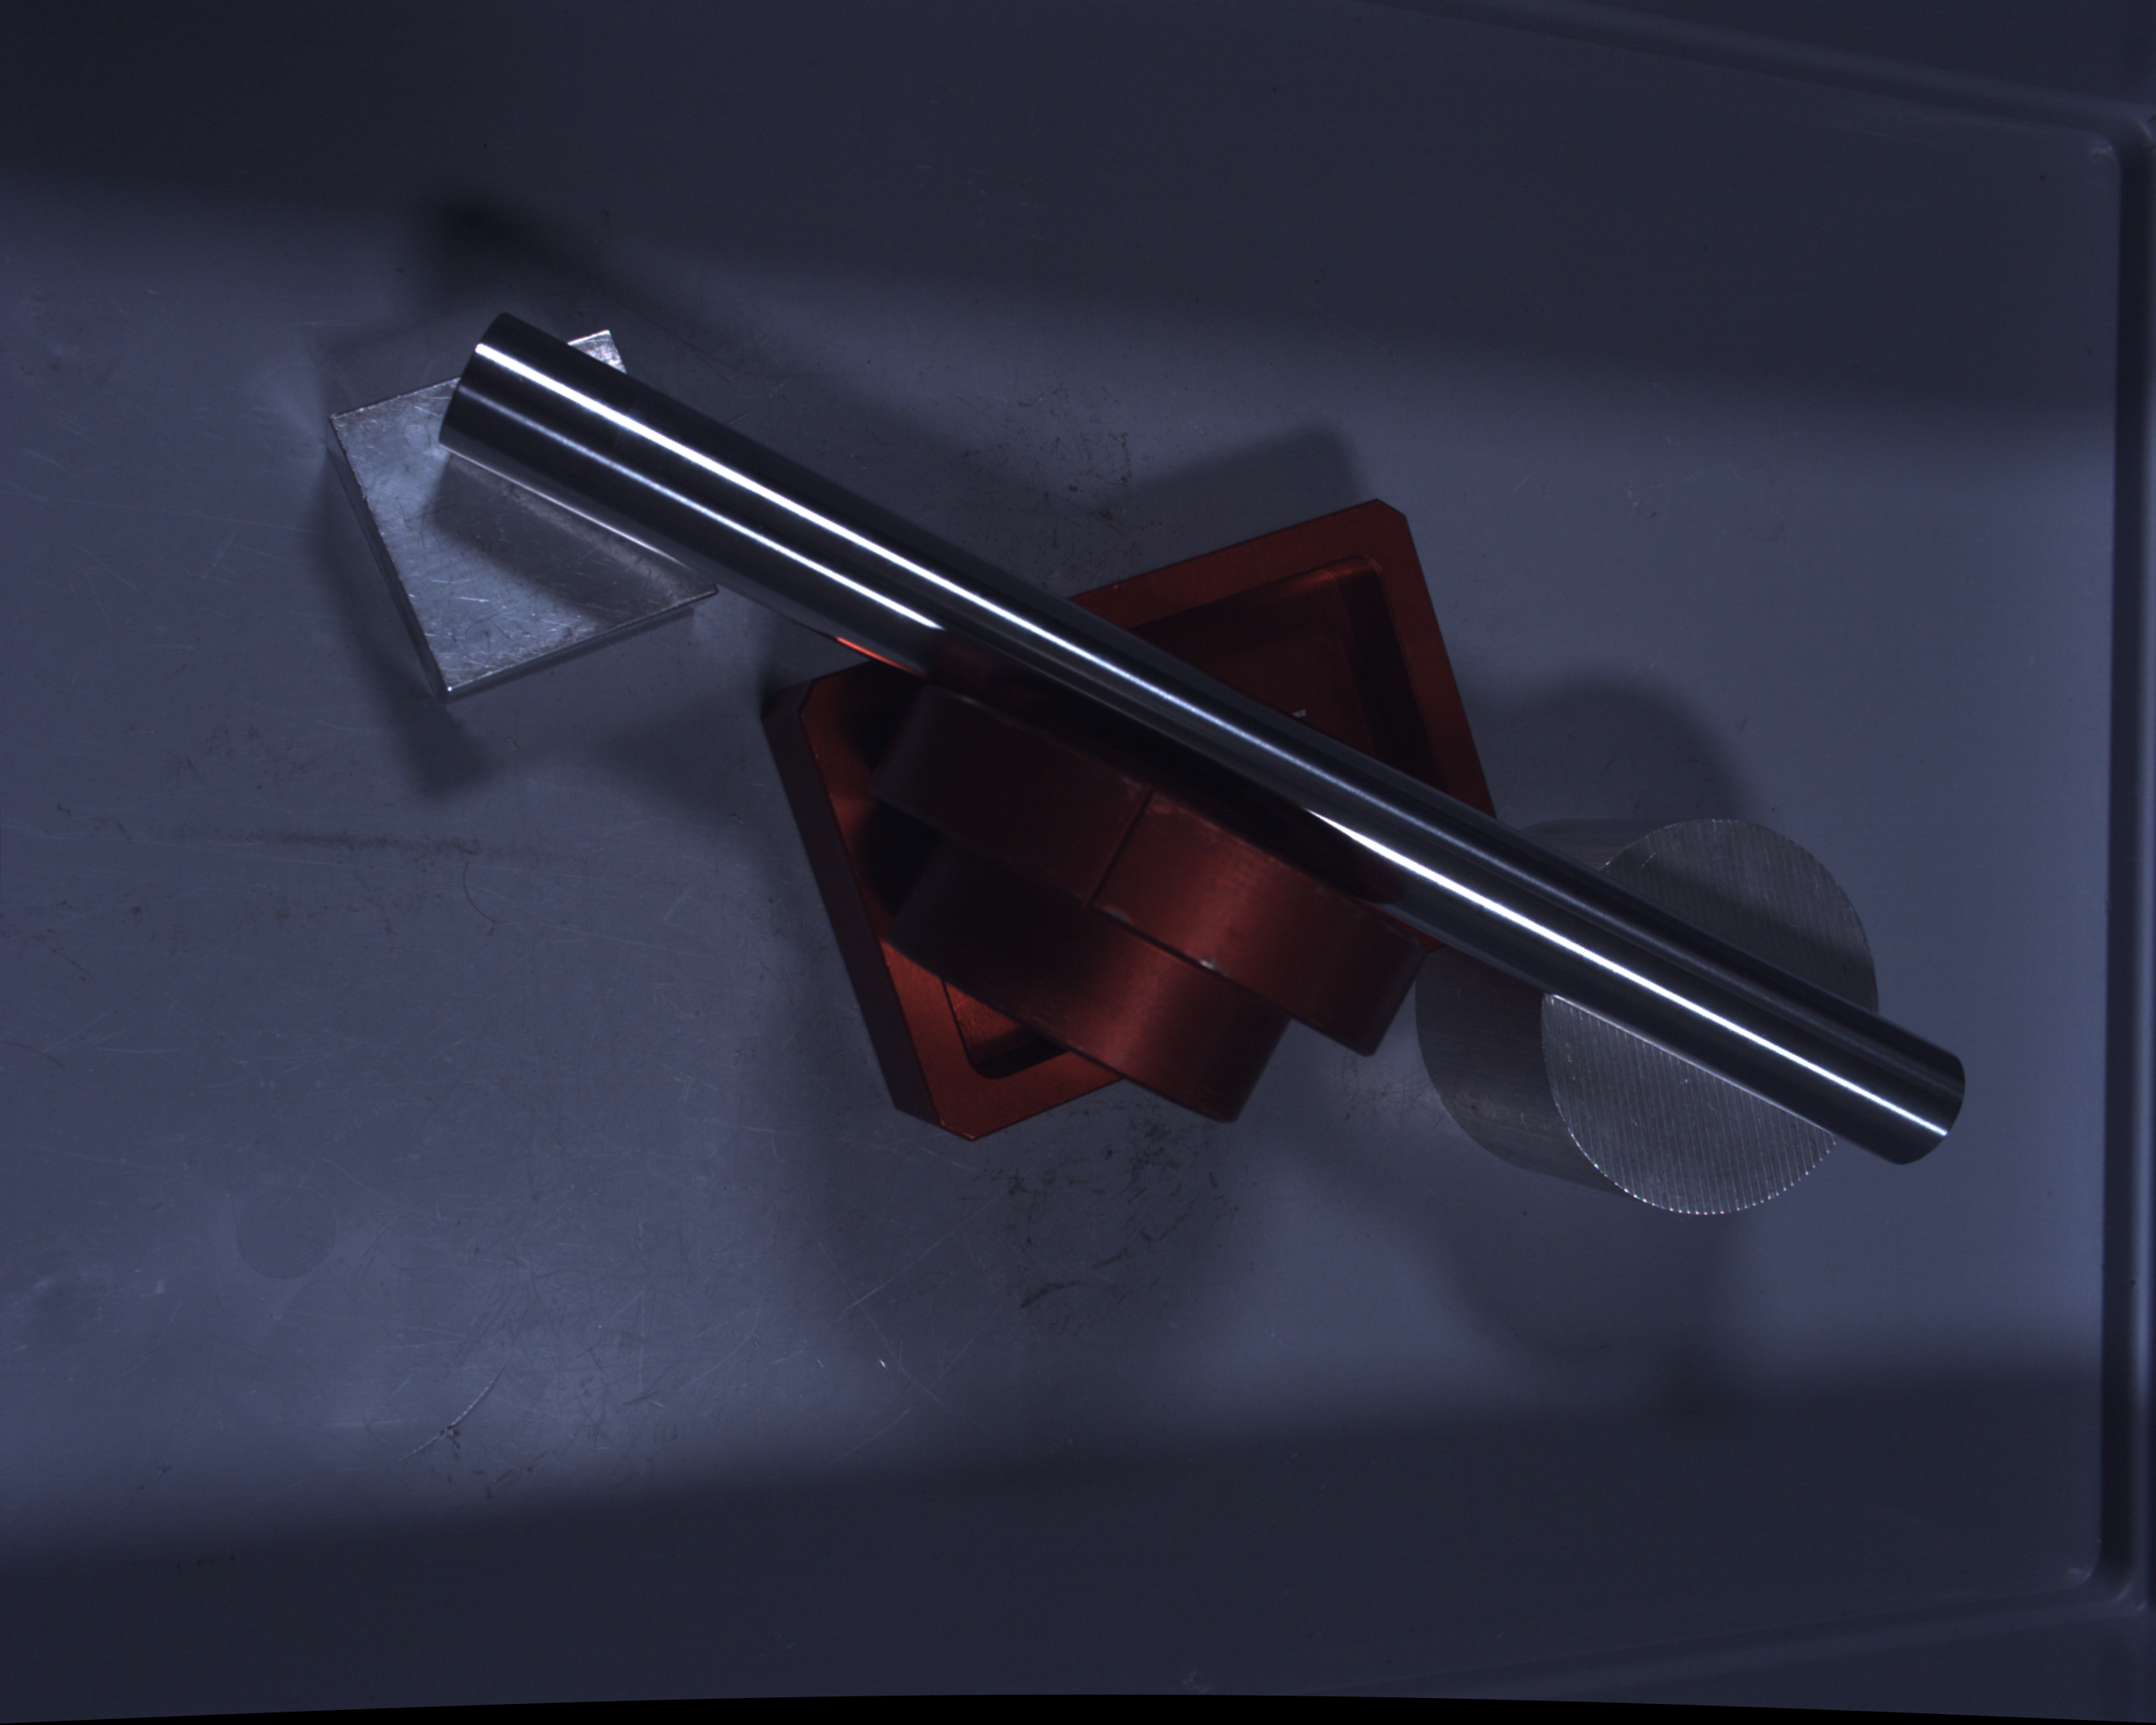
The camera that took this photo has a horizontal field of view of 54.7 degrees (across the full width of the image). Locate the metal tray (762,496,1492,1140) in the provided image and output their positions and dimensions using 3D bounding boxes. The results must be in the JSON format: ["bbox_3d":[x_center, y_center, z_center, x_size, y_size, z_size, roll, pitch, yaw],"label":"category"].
[{"bbox_3d":[0.015,-0.011,0.412,0.131,0.030,0.090,-20,97,-19],"label":"metal tray"}]

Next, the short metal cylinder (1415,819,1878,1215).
[{"bbox_3d":[0.119,0.031,0.441,0.081,0.050,0.079,0,90,-21],"label":"short metal cylinder"}]

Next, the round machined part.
[{"bbox_3d":[0.006,0.011,0.360,0.098,0.098,0.042,29,88,-18],"label":"round machined part"}]

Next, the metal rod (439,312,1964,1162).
[{"bbox_3d":[0.032,-0.016,0.378,0.301,0.025,0.025,26,81,-12],"label":"metal rod"}]

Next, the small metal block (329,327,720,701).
[{"bbox_3d":[-0.099,-0.062,0.373,0.050,0.025,0.050,-23,98,-19],"label":"small metal block"}]
